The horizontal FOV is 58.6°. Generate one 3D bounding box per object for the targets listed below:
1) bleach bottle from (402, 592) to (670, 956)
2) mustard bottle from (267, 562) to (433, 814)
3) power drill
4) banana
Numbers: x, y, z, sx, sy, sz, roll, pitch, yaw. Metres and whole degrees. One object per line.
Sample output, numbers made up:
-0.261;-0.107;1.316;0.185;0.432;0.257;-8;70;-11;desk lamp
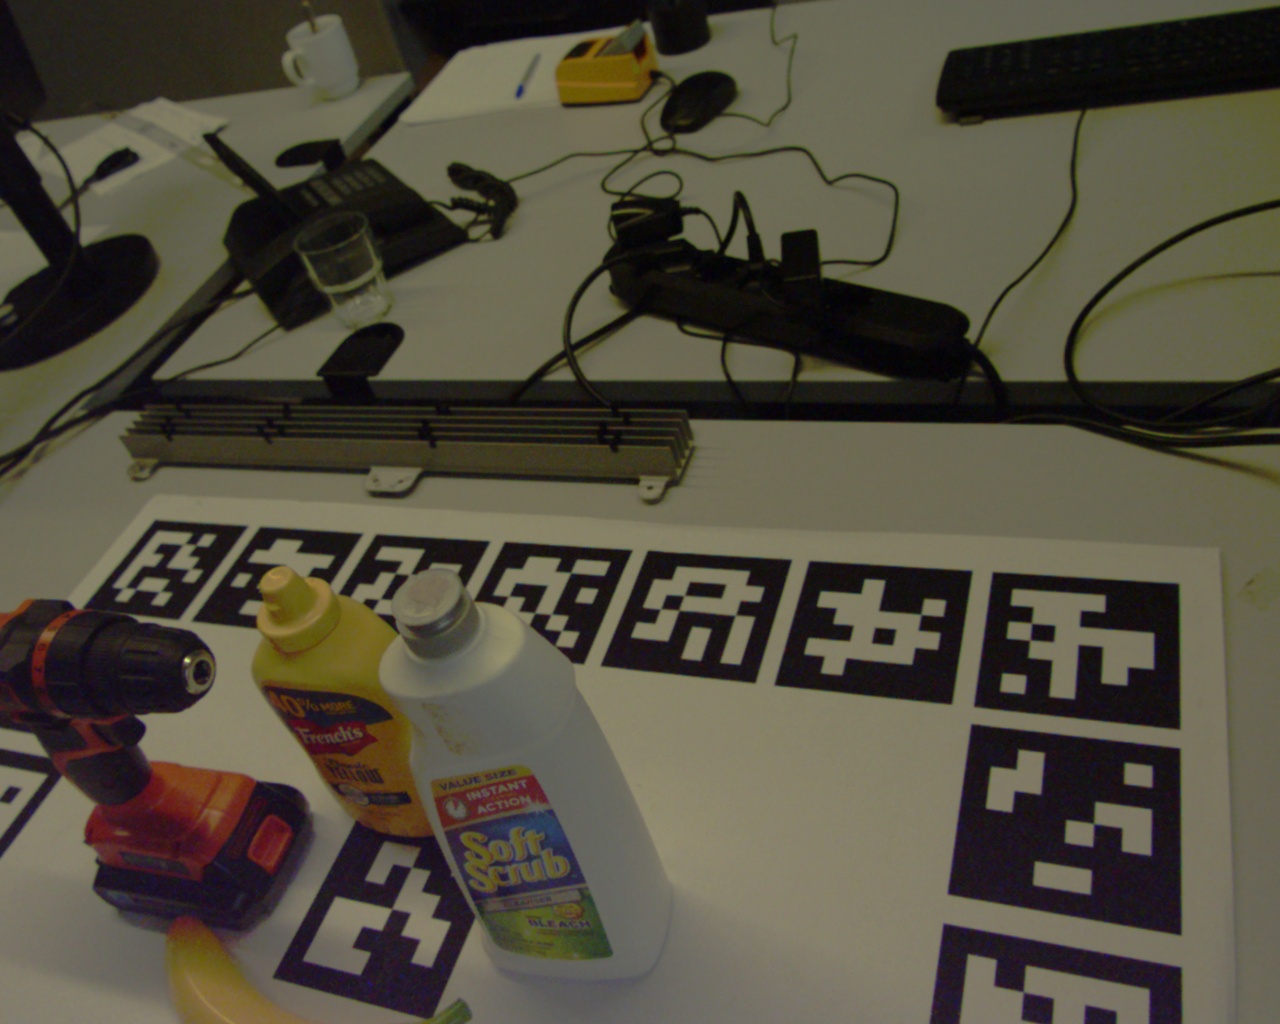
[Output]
-0.058;0.130;0.549;0.103;0.248;0.068;-4;45;16;bleach bottle
-0.157;0.098;0.650;0.097;0.190;0.058;4;46;21;mustard bottle
-0.274;0.124;0.638;0.186;0.186;0.057;2;39;18;power drill
-0.176;0.252;0.605;0.199;0.038;0.074;3;51;26;banana
